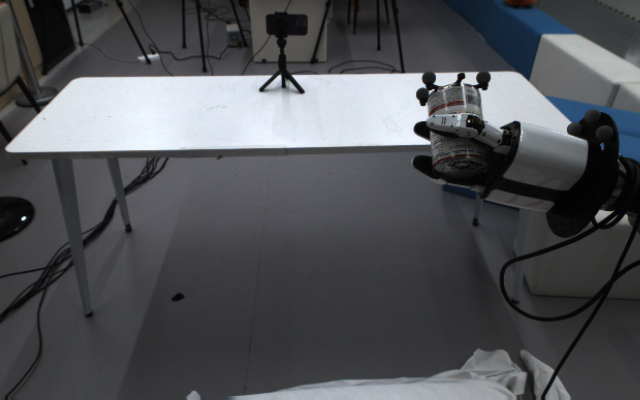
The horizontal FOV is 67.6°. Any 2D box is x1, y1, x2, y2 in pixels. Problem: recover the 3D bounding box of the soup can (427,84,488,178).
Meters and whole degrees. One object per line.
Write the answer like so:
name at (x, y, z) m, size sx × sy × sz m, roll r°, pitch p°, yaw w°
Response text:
soup can at (0.174, -0.086, 0.609) m, size 0.067 × 0.067 × 0.101 m, roll 1°, pitch 72°, yaw -2°
